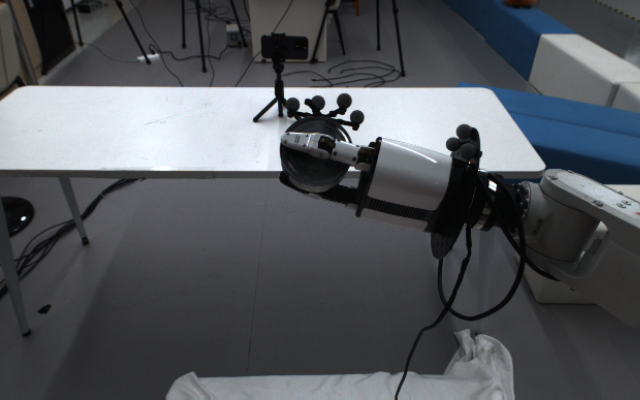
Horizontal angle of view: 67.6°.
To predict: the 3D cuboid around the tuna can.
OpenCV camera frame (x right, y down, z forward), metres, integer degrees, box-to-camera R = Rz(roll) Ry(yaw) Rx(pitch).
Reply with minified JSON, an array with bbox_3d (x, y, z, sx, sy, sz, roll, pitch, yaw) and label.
[{"bbox_3d":[-0.004,-0.055,0.574,0.085,0.034,0.085,1,73,-3],"label":"tuna can"}]
